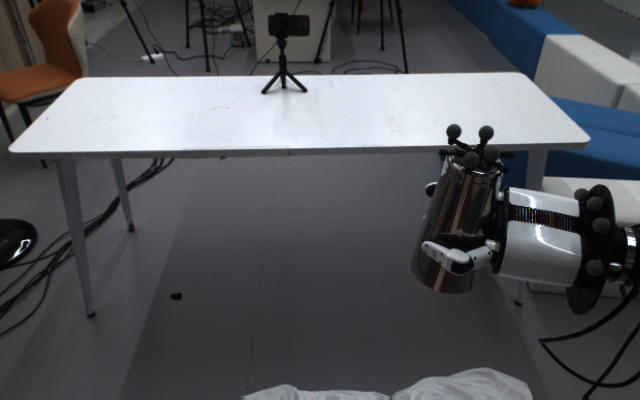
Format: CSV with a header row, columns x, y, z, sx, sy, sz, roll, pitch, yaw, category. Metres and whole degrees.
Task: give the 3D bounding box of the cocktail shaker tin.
x,y,z,sx,sy,sz,roll,pitch,yaw,category
0.176,0.023,0.609,0.093,0.170,0.093,3,34,-2,cocktail shaker tin
